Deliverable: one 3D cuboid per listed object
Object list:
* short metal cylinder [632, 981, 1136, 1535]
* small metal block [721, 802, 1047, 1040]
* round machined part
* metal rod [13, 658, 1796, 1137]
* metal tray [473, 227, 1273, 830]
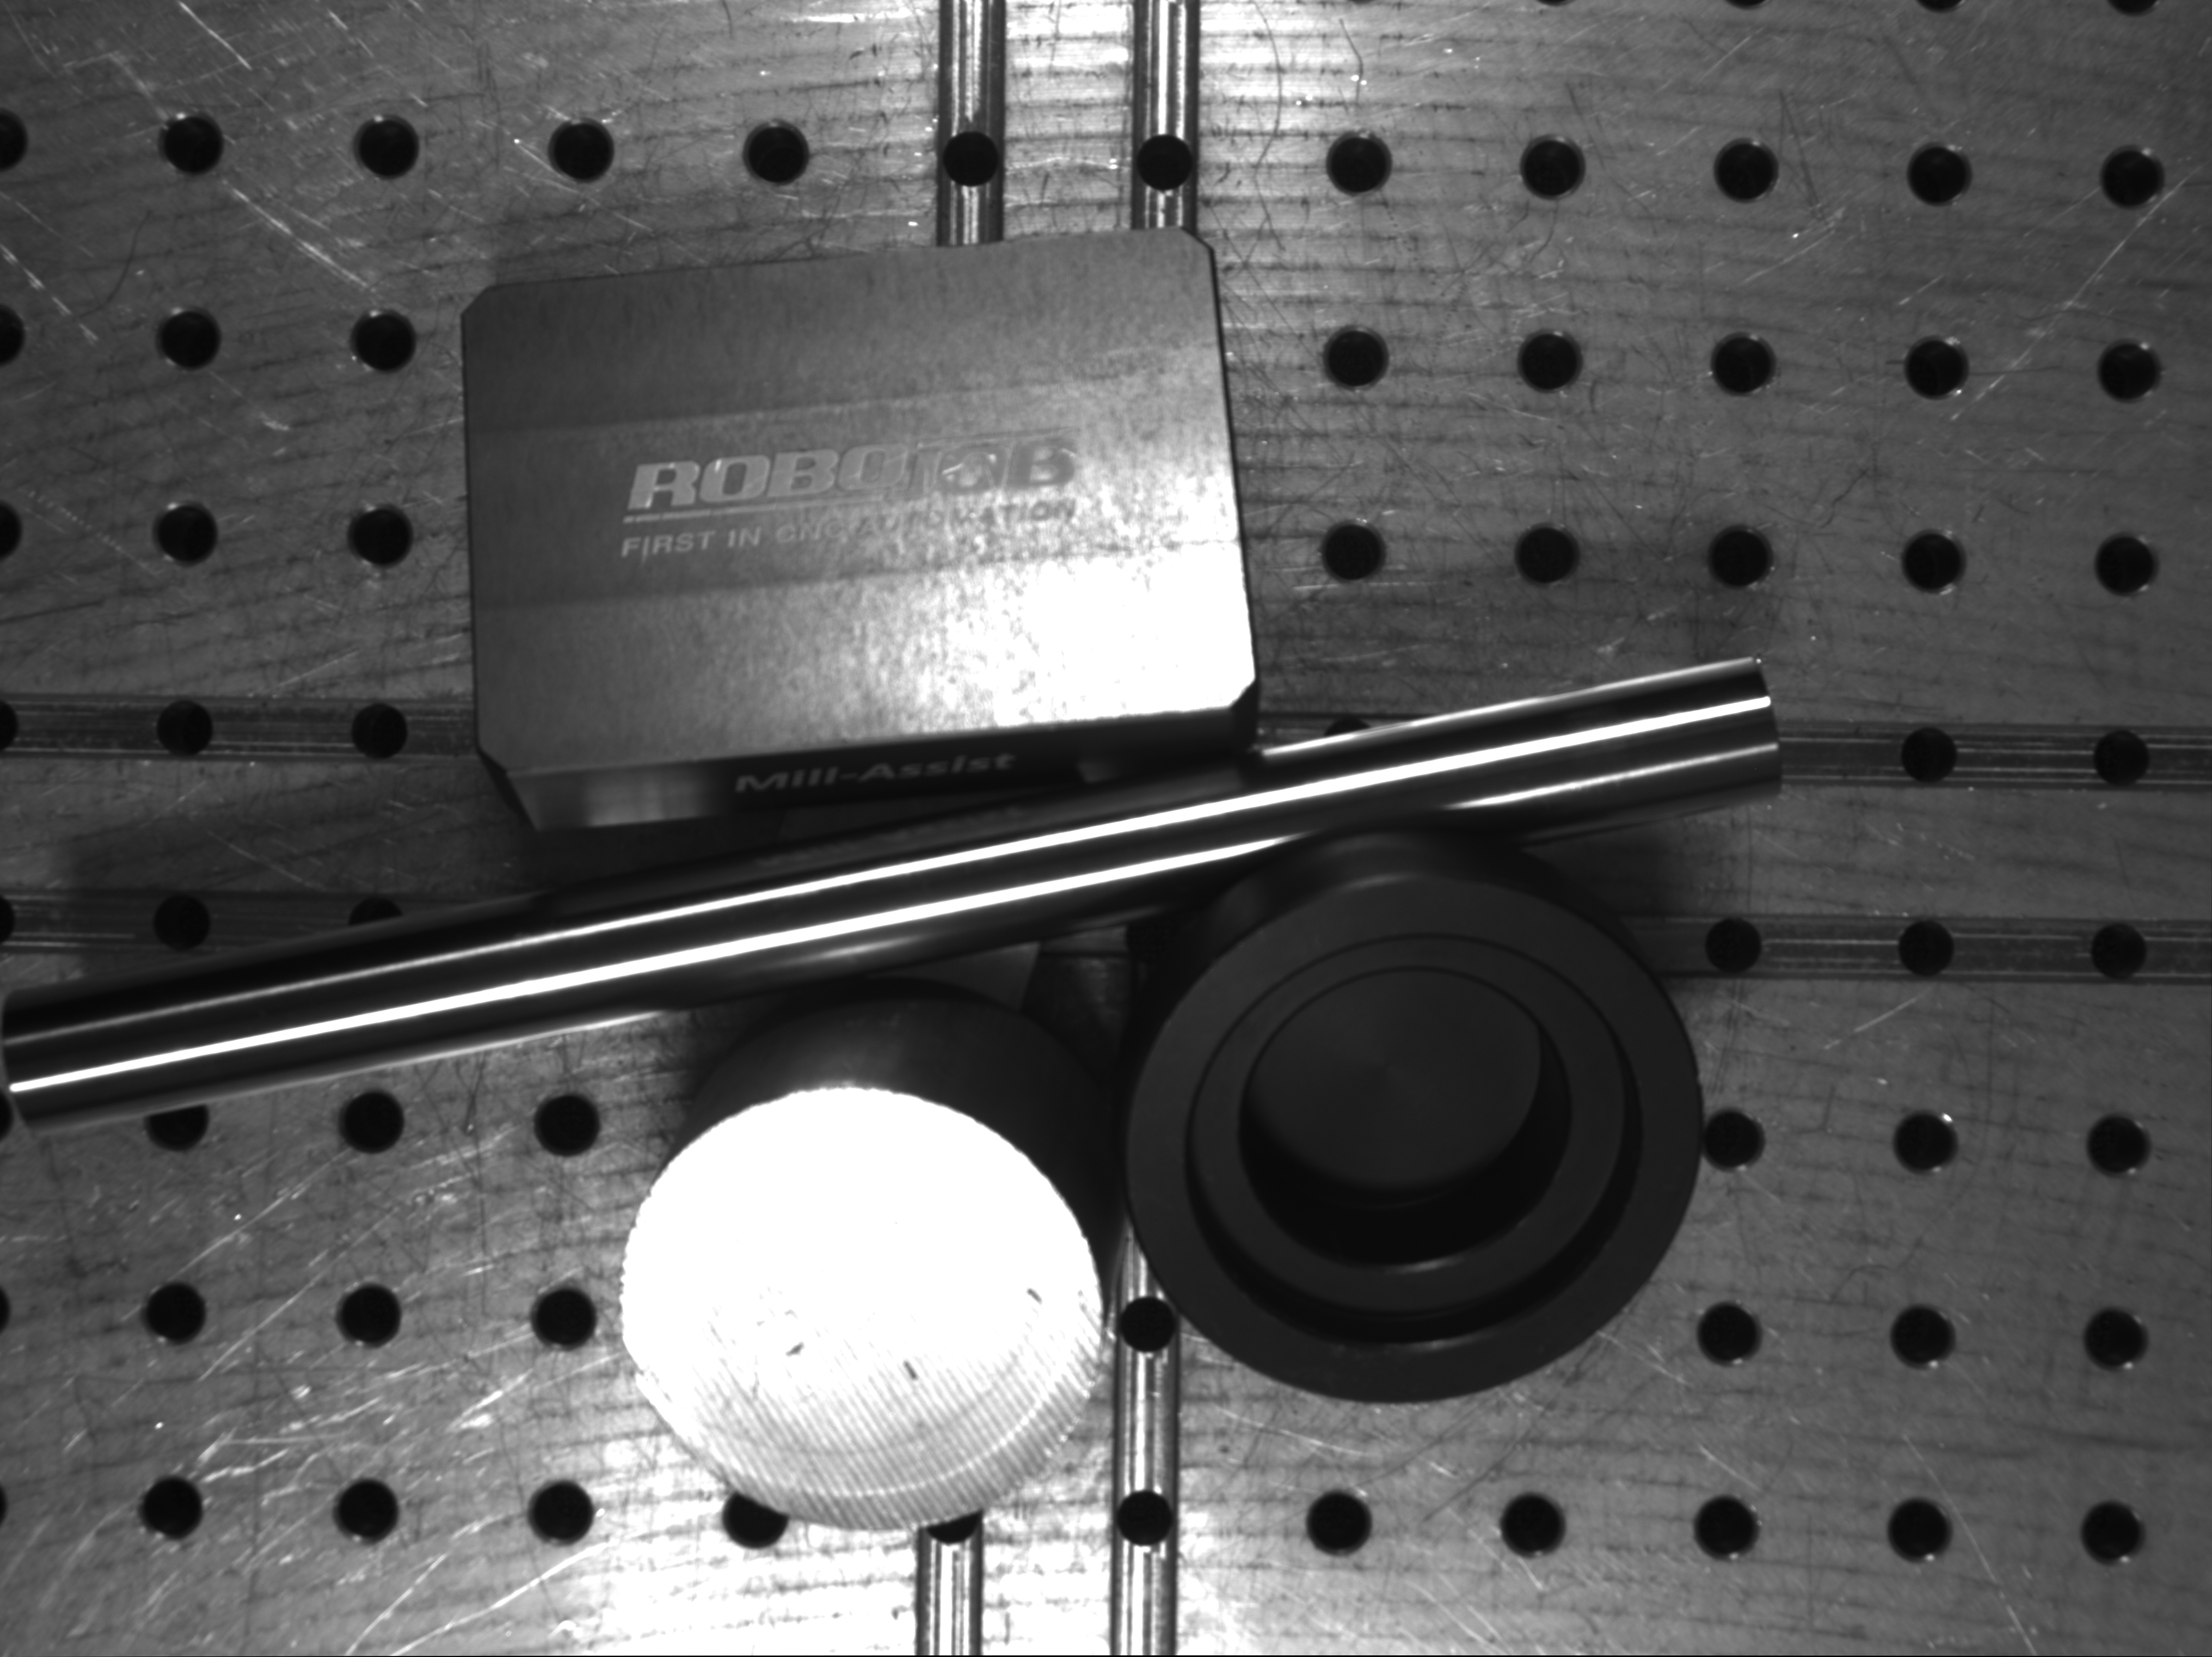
[{"bbox_3d":[-0.036,0.072,0.623,0.080,0.050,0.080,2,108,5],"label":"short metal cylinder"},{"bbox_3d":[-0.036,0.020,0.655,0.050,0.025,0.050,18,90,0],"label":"small metal block"},{"bbox_3d":[0.052,0.046,0.628,0.098,0.042,0.098,-2,112,-4],"label":"round machined part"},{"bbox_3d":[-0.033,0.012,0.621,0.300,0.025,0.025,-11,90,-1],"label":"metal rod"},{"bbox_3d":[-0.040,-0.052,0.631,0.130,0.030,0.090,-5,71,-1],"label":"metal tray"}]
